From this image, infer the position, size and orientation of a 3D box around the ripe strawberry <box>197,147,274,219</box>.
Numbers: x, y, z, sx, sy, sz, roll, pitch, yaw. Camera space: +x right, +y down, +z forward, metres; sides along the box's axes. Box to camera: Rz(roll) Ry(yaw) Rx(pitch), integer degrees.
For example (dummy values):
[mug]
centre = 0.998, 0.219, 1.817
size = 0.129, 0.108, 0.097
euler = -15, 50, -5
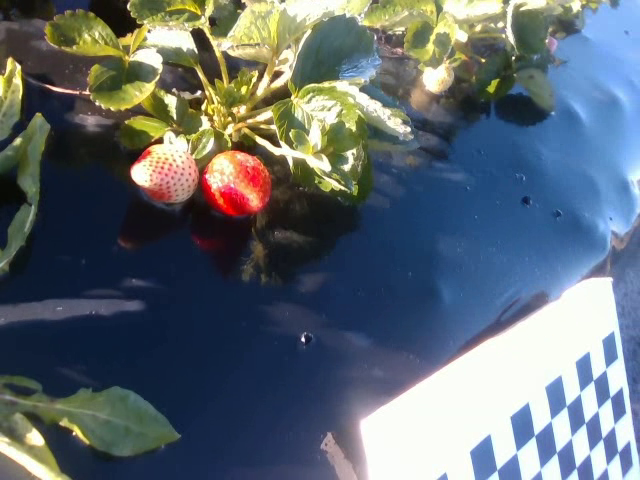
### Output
[ripe strawberry]
centre = -0.037, -0.027, 0.306
size = 0.040, 0.038, 0.055
euler = -30, 20, -12
